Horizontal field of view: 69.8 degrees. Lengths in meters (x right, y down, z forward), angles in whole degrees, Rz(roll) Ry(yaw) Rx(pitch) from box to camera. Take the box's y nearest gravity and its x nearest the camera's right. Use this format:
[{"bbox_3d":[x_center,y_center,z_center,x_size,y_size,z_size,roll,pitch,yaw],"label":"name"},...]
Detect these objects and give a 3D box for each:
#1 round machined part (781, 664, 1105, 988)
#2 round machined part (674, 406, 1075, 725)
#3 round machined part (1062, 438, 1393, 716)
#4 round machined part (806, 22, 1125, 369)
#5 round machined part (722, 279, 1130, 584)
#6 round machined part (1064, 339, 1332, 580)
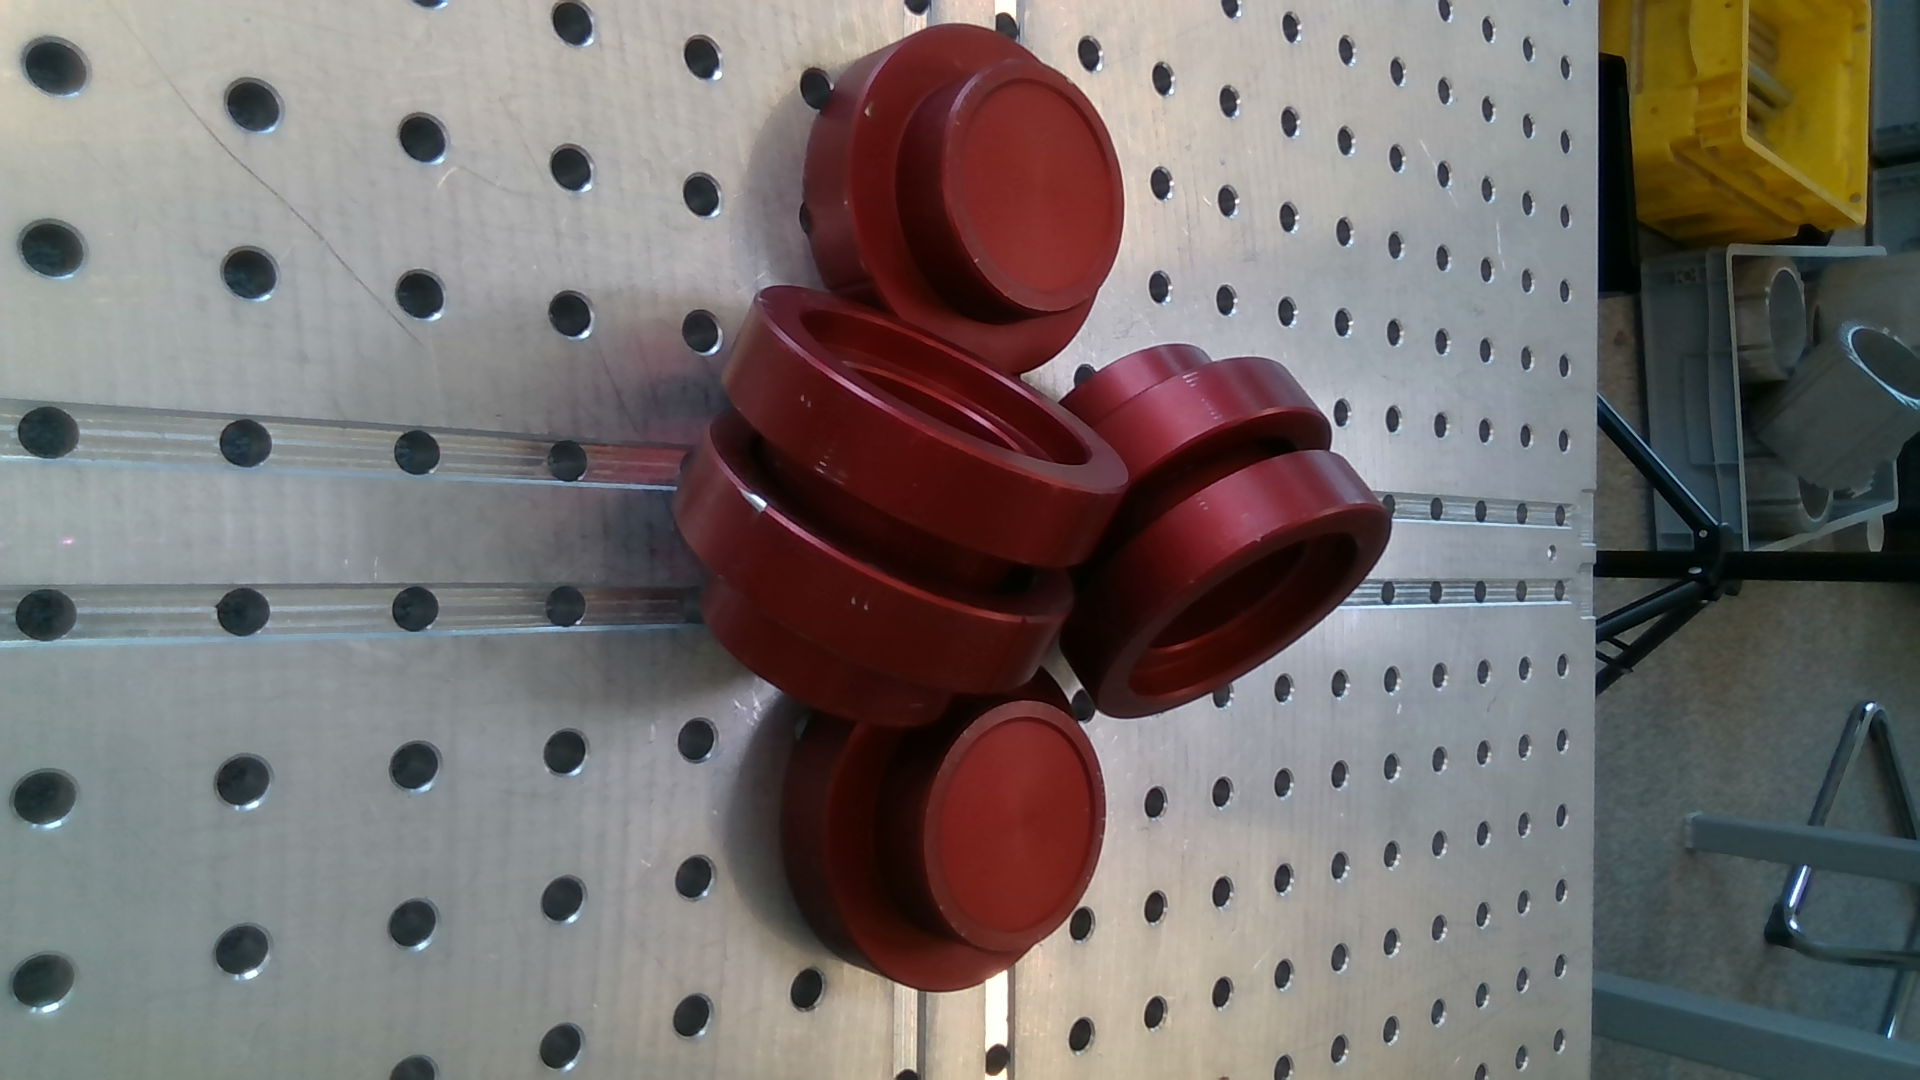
[{"bbox_3d":[0.002,0.076,0.385,0.098,0.042,0.098,0,90,-40],"label":"round machined part"},{"bbox_3d":[-0.025,0.008,0.337,0.098,0.098,0.042,13,113,-39],"label":"round machined part"},{"bbox_3d":[0.071,0.005,0.397,0.098,0.098,0.042,-7,55,-40],"label":"round machined part"},{"bbox_3d":[0.009,-0.096,0.389,0.098,0.042,0.098,0,90,-40],"label":"round machined part"},{"bbox_3d":[-0.012,-0.021,0.330,0.098,0.098,0.042,13,114,-40],"label":"round machined part"},{"bbox_3d":[0.057,-0.021,0.409,0.098,0.098,0.042,-7,55,-40],"label":"round machined part"}]
